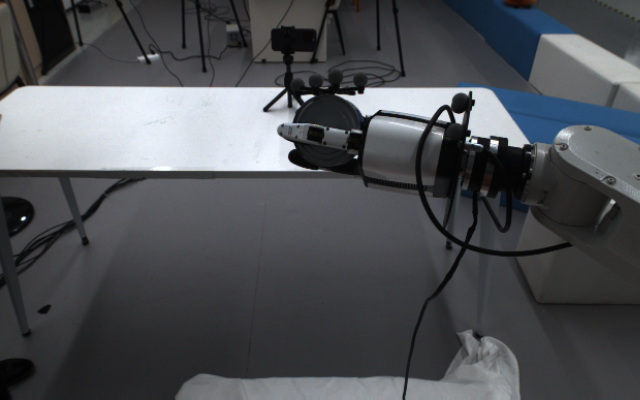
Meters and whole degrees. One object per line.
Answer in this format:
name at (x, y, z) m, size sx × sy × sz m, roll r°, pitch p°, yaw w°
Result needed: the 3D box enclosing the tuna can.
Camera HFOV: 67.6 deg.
tuna can at (0.012, -0.084, 0.590) m, size 0.085 × 0.085 × 0.034 m, roll 15°, pitch 10°, yaw 18°
